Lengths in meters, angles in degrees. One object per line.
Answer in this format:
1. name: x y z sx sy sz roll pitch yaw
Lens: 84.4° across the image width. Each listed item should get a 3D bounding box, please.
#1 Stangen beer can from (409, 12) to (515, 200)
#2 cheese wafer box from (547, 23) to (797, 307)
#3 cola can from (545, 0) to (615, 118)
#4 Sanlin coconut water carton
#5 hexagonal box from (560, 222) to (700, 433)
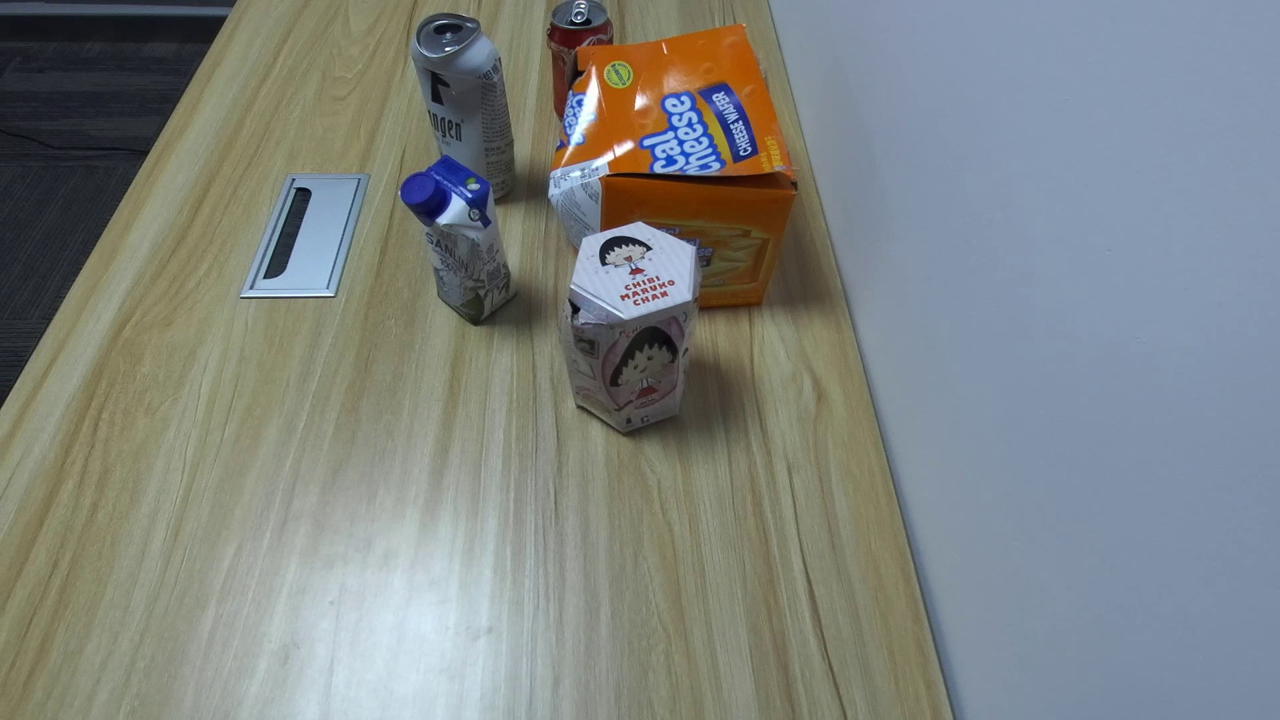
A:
1. Stangen beer can: -0.155 -0.220 0.633 0.077 0.162 0.065 -6 55 -5
2. cheese wafer box: 0.016 -0.170 0.613 0.191 0.145 0.218 -5 54 -5
3. cola can: -0.058 -0.305 0.726 0.066 0.117 0.066 39 64 22
4. Sanlin coconut water carton: -0.143 -0.096 0.561 0.078 0.142 0.058 35 66 22
5. hexagonal box: -0.007 -0.020 0.511 0.091 0.134 0.090 14 52 10
